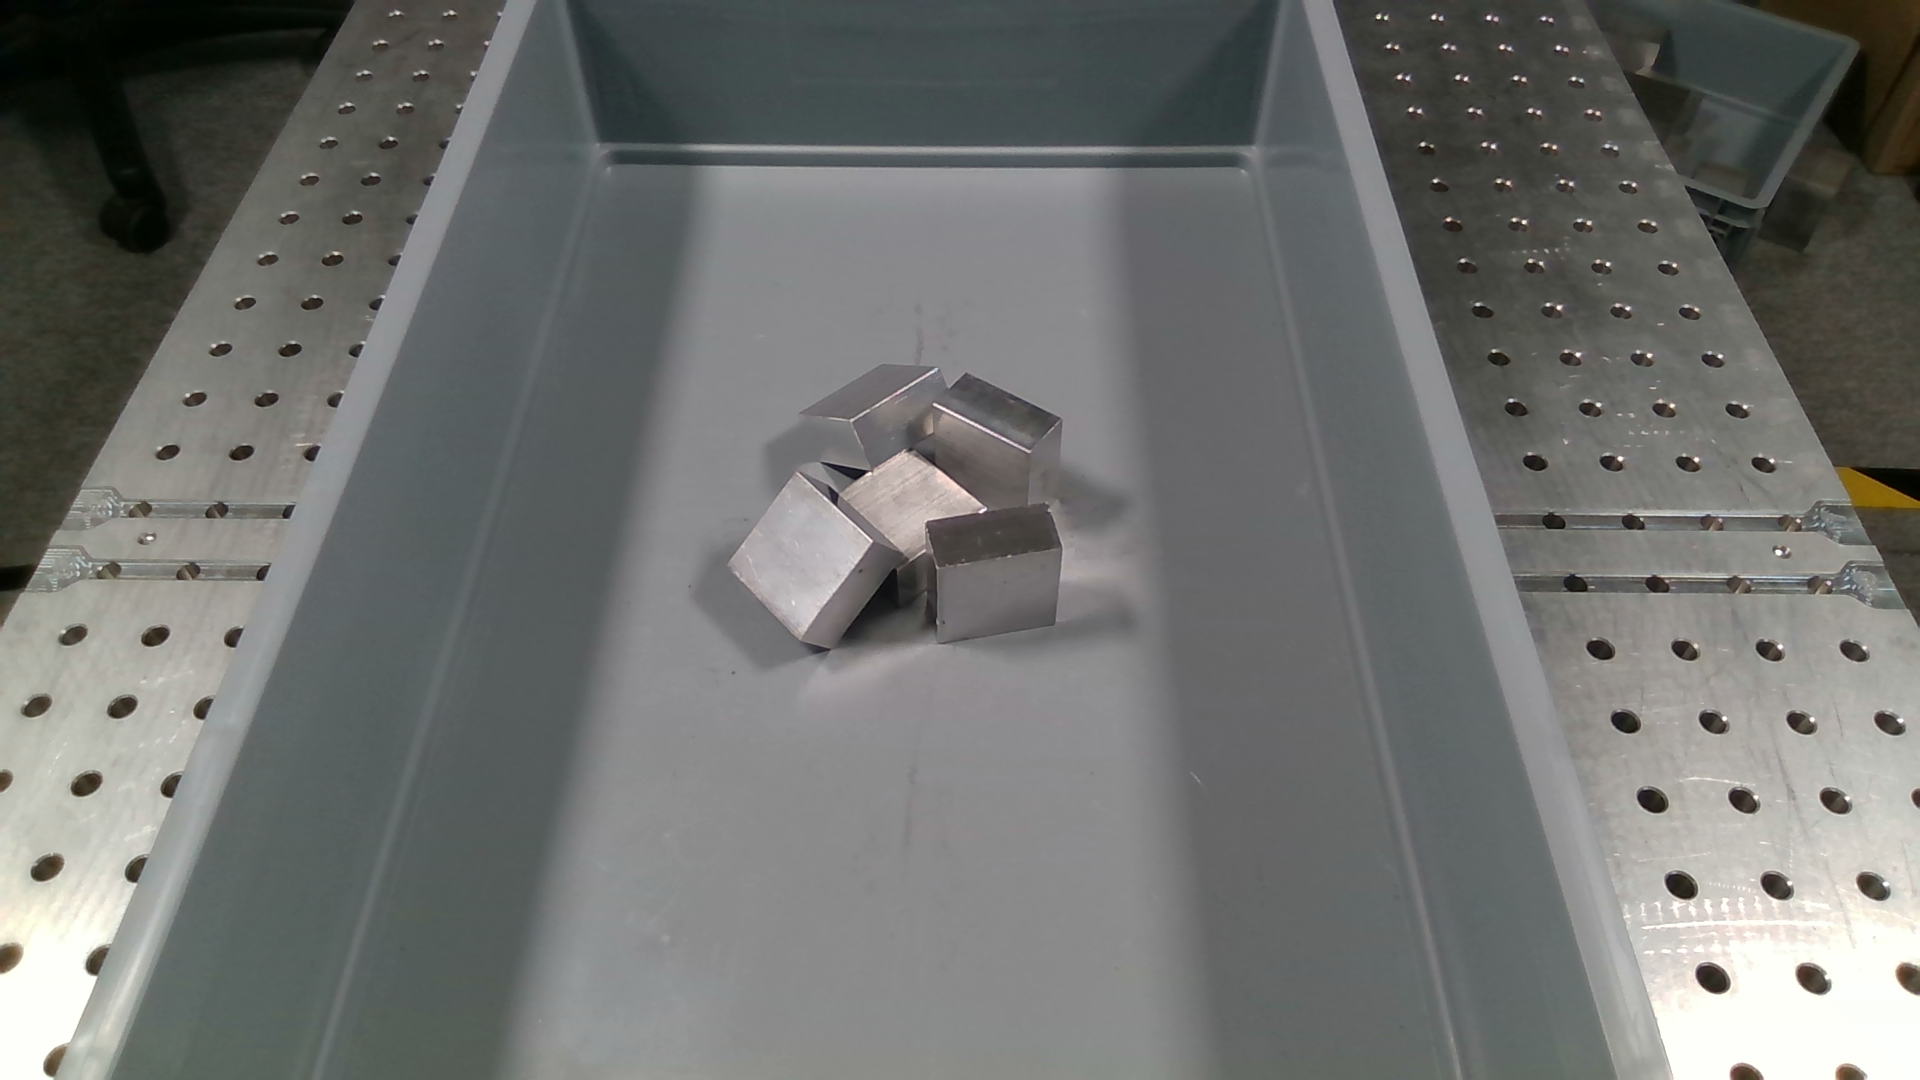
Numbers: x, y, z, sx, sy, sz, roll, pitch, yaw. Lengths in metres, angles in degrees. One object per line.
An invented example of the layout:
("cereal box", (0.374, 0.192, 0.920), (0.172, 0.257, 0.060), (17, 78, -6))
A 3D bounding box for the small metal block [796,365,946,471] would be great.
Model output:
("small metal block", (-0.037, -0.056, 0.617), (0.050, 0.025, 0.050), (-34, 25, -25))

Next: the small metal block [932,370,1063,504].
("small metal block", (0.016, -0.038, 0.600), (0.050, 0.050, 0.025), (29, 56, 22))

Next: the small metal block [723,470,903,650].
("small metal block", (-0.060, 0.008, 0.562), (0.050, 0.025, 0.050), (41, 98, 28))

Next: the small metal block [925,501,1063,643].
("small metal block", (0.013, 0.013, 0.557), (0.050, 0.050, 0.025), (-9, 52, -7))

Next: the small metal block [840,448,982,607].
("small metal block", (-0.024, -0.007, 0.591), (0.050, 0.025, 0.050), (-35, 58, -25))
